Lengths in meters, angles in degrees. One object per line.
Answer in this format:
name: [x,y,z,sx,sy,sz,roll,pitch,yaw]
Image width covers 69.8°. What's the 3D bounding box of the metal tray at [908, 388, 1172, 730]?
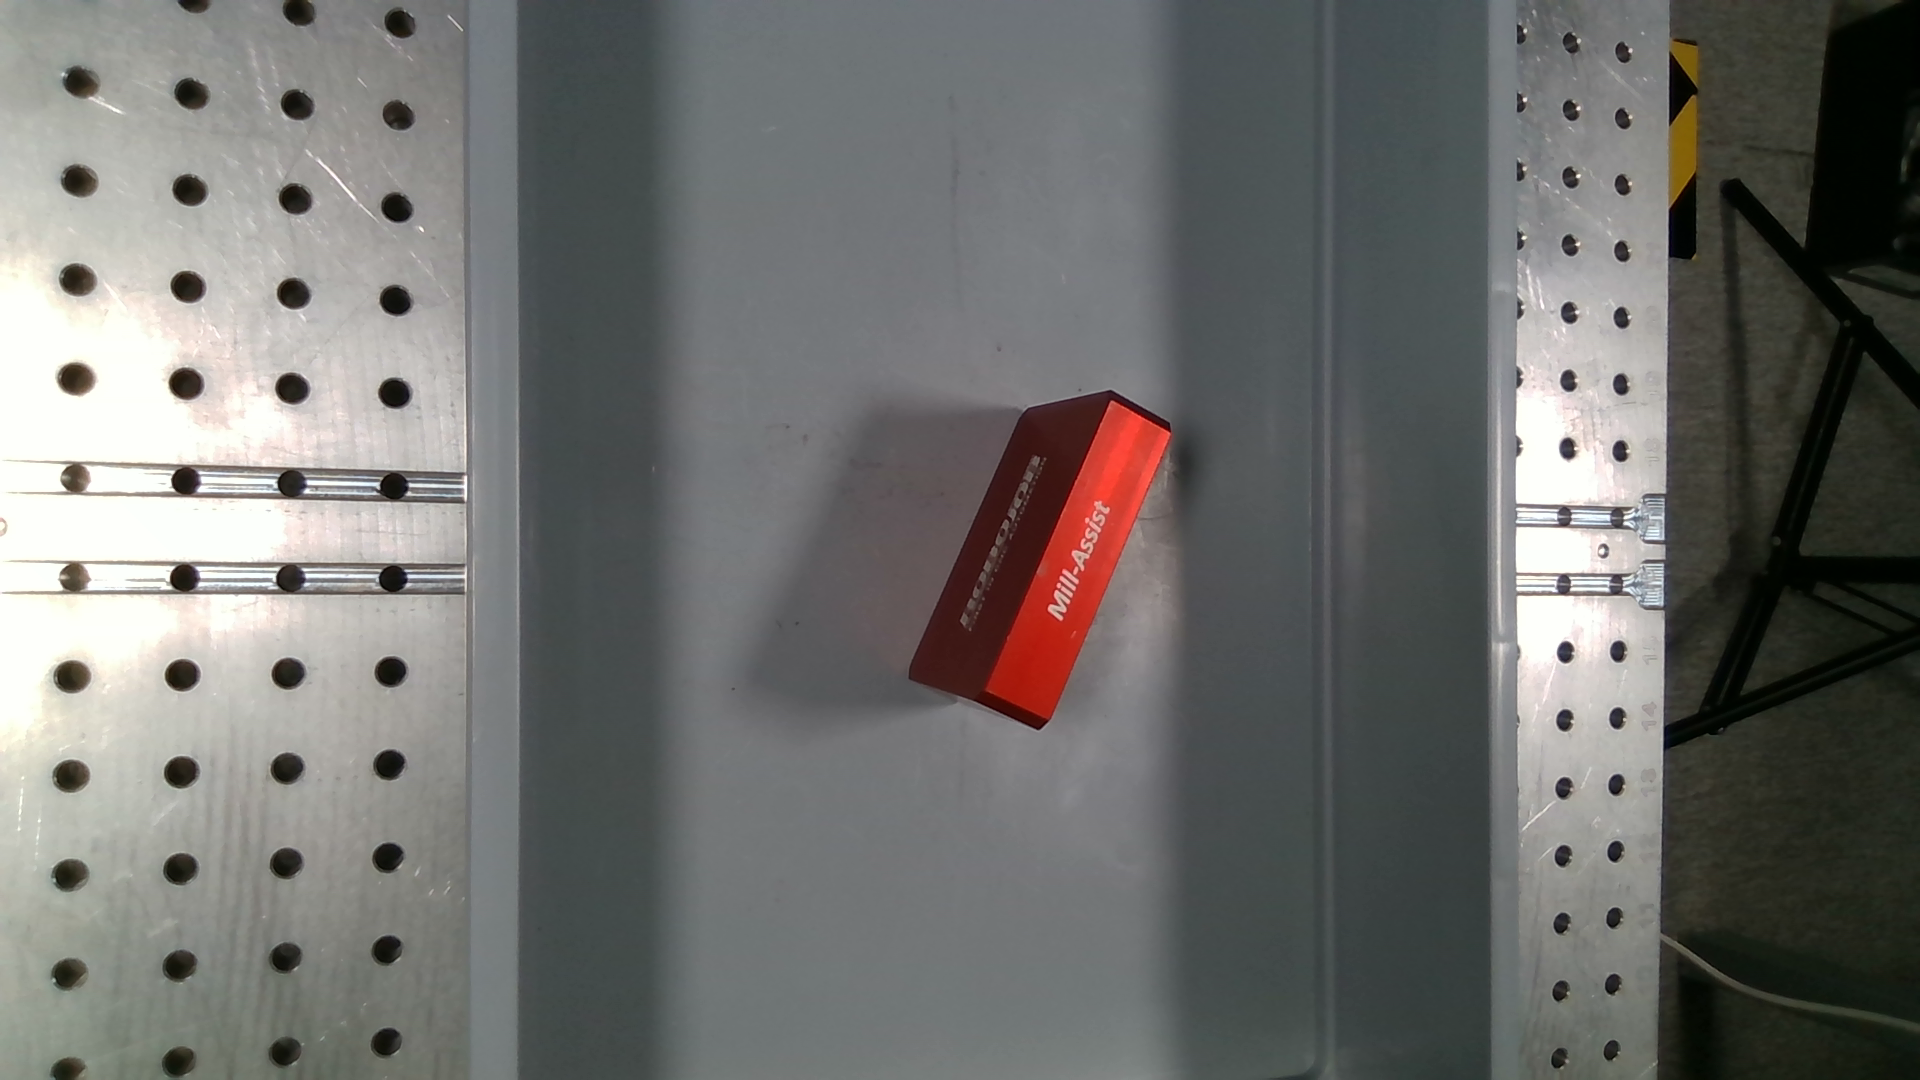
metal tray: [0.030,0.007,0.559,0.030,0.090,0.130,26,82,-18]
